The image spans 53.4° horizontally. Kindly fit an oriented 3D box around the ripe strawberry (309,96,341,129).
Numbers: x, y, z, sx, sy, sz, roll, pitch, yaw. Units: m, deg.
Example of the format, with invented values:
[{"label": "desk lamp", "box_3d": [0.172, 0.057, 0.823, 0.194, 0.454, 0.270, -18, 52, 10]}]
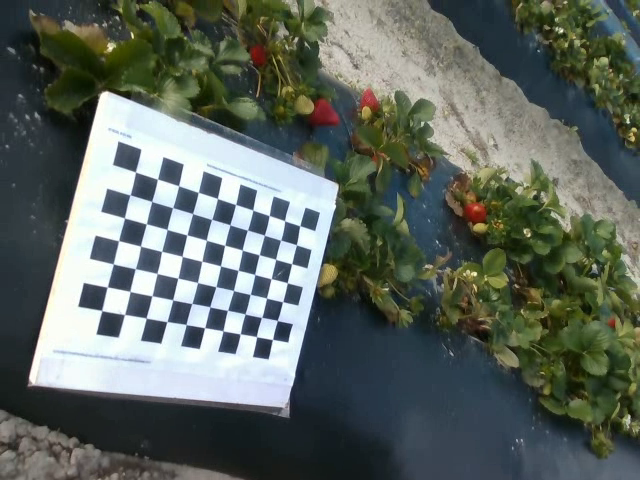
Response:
[{"label": "ripe strawberry", "box_3d": [0.012, -0.211, 1.058, 0.055, 0.051, 0.048, 34, -23, 23]}]
